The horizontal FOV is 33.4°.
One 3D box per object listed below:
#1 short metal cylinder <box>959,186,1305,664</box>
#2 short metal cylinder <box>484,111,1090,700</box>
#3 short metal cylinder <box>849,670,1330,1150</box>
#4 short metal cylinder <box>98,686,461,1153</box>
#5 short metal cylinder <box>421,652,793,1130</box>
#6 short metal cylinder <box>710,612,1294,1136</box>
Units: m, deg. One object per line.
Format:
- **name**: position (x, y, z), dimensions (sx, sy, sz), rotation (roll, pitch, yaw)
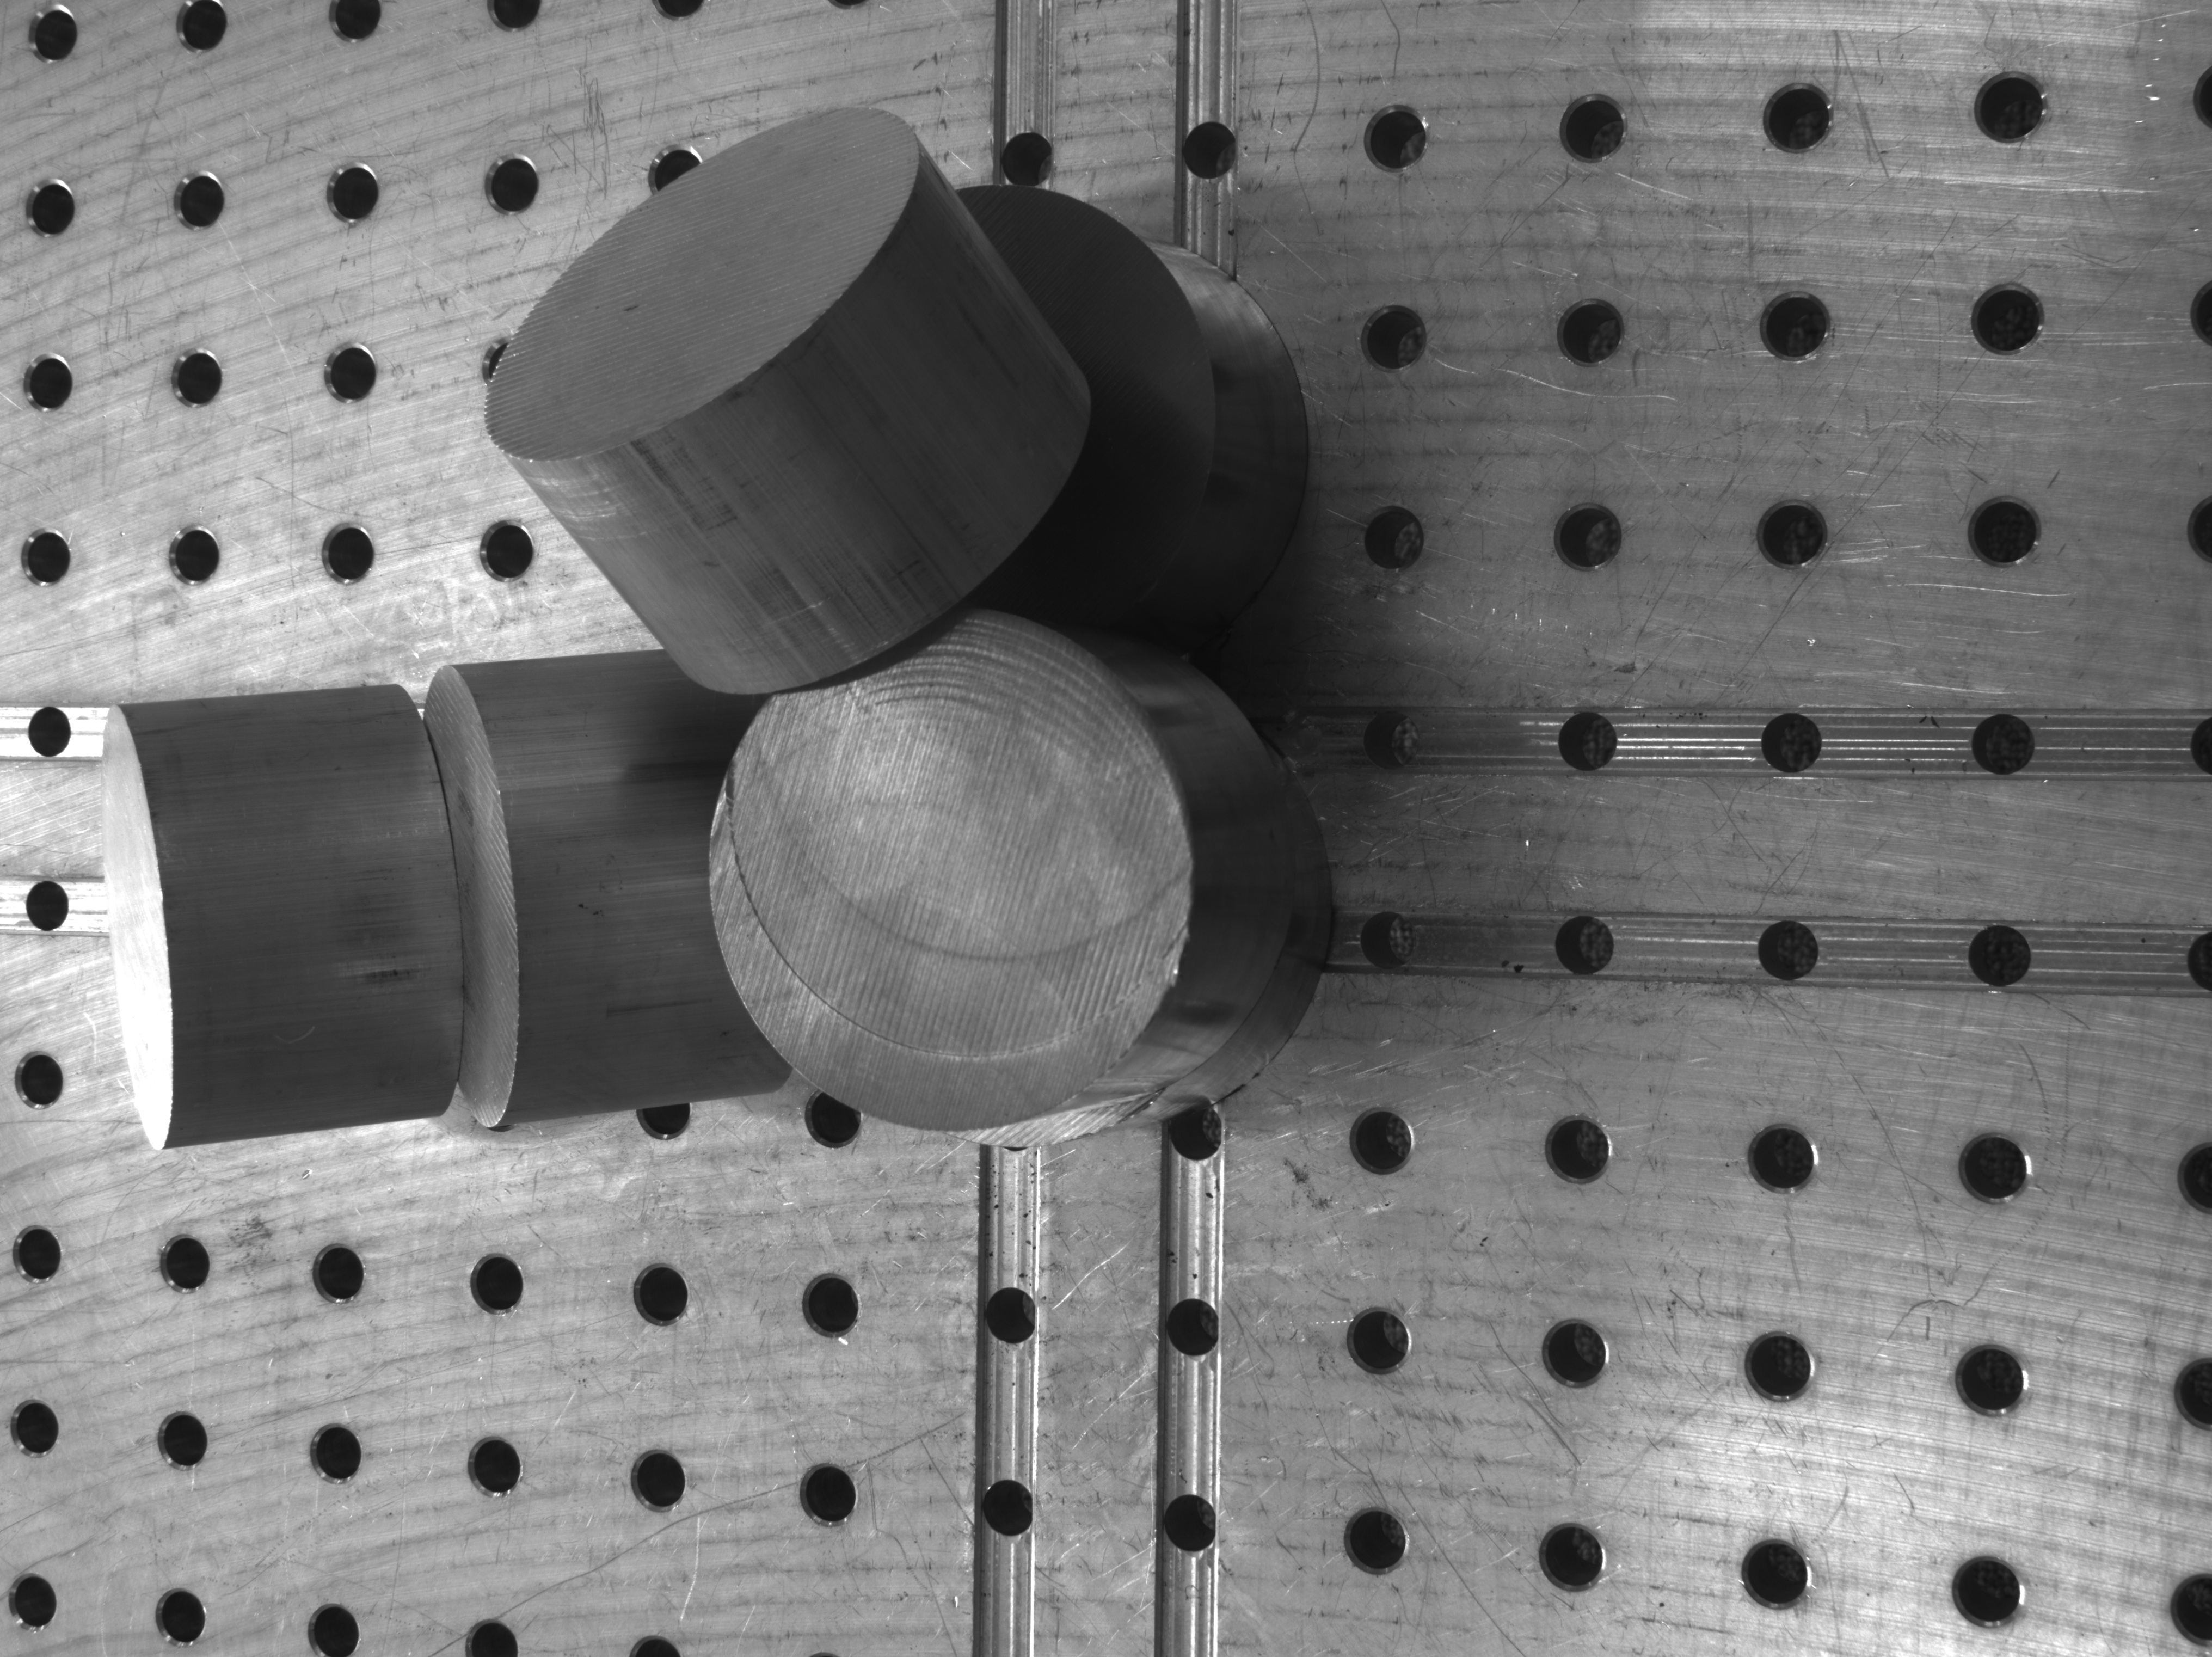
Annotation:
- **short metal cylinder**: position (-0.011, -0.067, 0.639), dimensions (0.080, 0.050, 0.080), rotation (0, 90, 20)
- **short metal cylinder**: position (-0.050, -0.066, 0.577), dimensions (0.080, 0.080, 0.050), rotation (-25, 125, 18)
- **short metal cylinder**: position (-0.007, 0.014, 0.638), dimensions (0.080, 0.050, 0.080), rotation (0, 90, 20)
- **short metal cylinder**: position (-0.151, 0.016, 0.668), dimensions (0.050, 0.080, 0.080), rotation (-6, 87, -22)
- **short metal cylinder**: position (-0.087, 0.010, 0.644), dimensions (0.050, 0.080, 0.080), rotation (-6, 87, -21)
- **short metal cylinder**: position (-0.016, 0.007, 0.586), dimensions (0.080, 0.050, 0.080), rotation (0, 90, 20)
